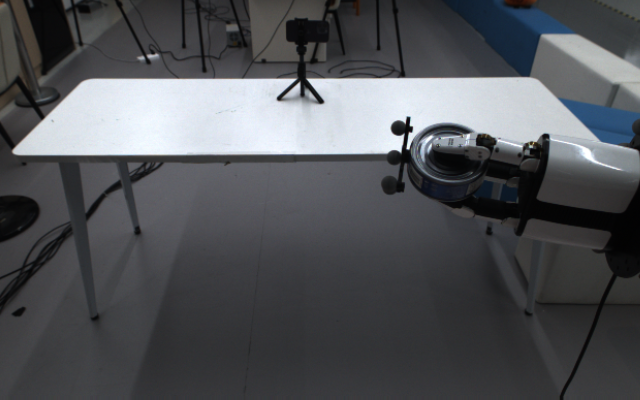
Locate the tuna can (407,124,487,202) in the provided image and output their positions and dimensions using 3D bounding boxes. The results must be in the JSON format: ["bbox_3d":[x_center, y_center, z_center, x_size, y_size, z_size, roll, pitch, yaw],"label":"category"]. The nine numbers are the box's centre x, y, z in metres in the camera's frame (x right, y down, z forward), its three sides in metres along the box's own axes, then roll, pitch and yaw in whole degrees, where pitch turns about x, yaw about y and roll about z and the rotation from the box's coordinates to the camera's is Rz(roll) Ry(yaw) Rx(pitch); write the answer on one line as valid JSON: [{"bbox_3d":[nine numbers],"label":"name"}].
[{"bbox_3d":[0.142,-0.046,0.532,0.085,0.034,0.085,-2,57,3],"label":"tuna can"}]
